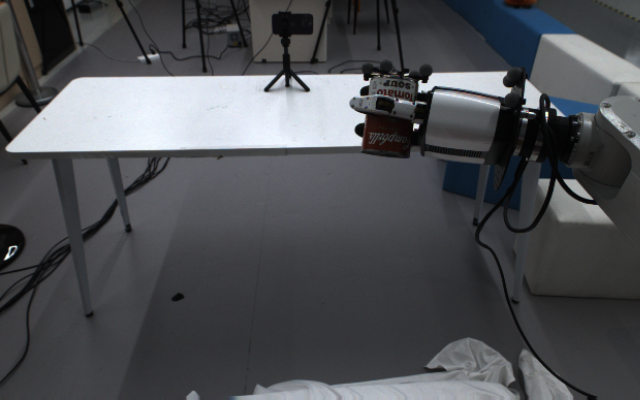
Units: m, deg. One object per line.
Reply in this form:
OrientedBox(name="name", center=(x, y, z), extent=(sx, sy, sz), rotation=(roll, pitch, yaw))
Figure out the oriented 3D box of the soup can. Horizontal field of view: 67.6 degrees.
OrientedBox(name="soup can", center=(0.096, -0.112, 0.656), extent=(0.067, 0.101, 0.067), rotation=(7, 3, 0))
